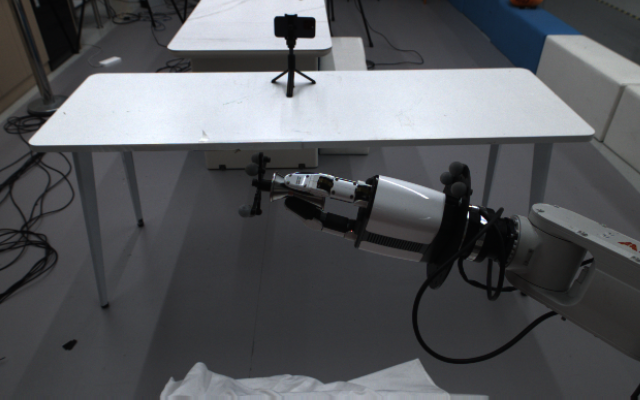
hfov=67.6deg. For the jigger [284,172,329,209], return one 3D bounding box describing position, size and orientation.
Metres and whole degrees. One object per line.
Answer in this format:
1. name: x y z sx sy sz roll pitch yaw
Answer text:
1. jigger: -0.019 -0.015 0.613 0.071 0.043 0.043 8 35 1
